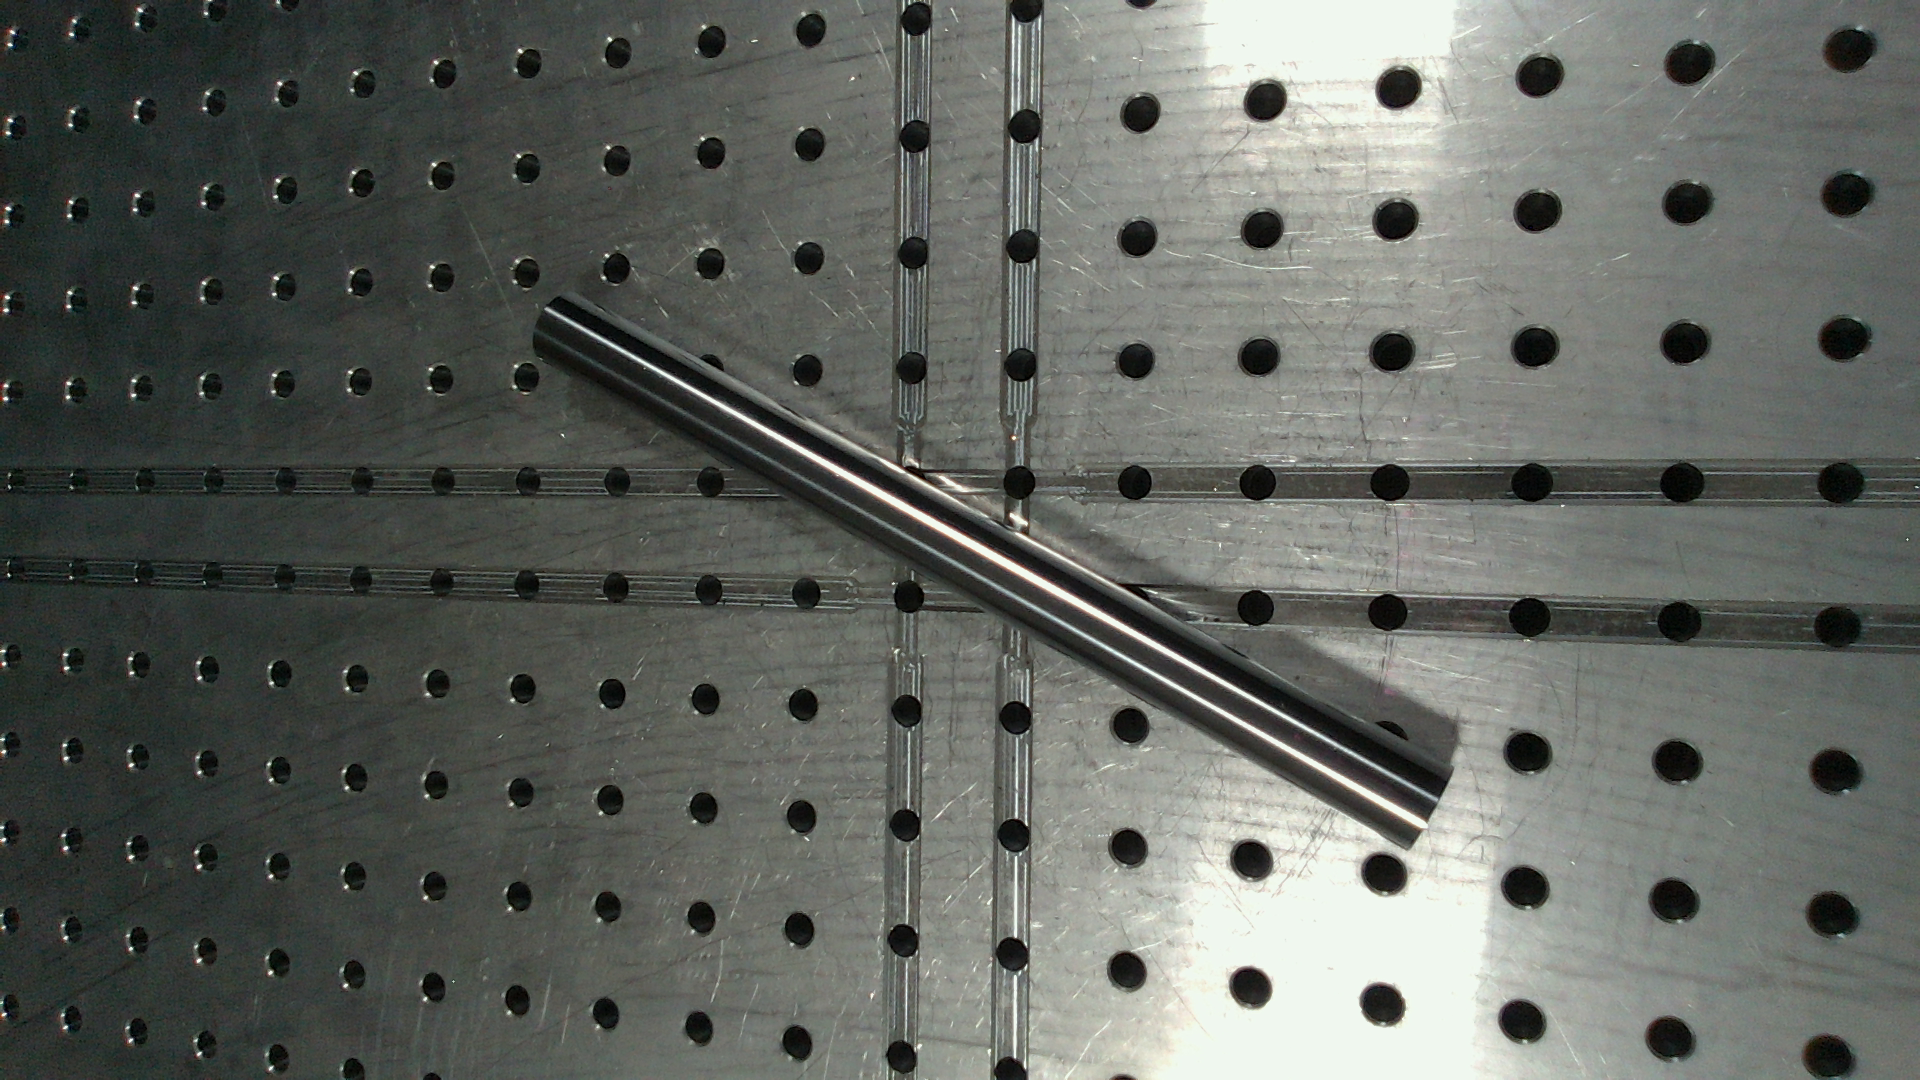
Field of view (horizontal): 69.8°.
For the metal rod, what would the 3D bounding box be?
[{"bbox_3d":[-0.004,0.000,0.400,0.299,0.025,0.025,29,100,18],"label":"metal rod"}]
